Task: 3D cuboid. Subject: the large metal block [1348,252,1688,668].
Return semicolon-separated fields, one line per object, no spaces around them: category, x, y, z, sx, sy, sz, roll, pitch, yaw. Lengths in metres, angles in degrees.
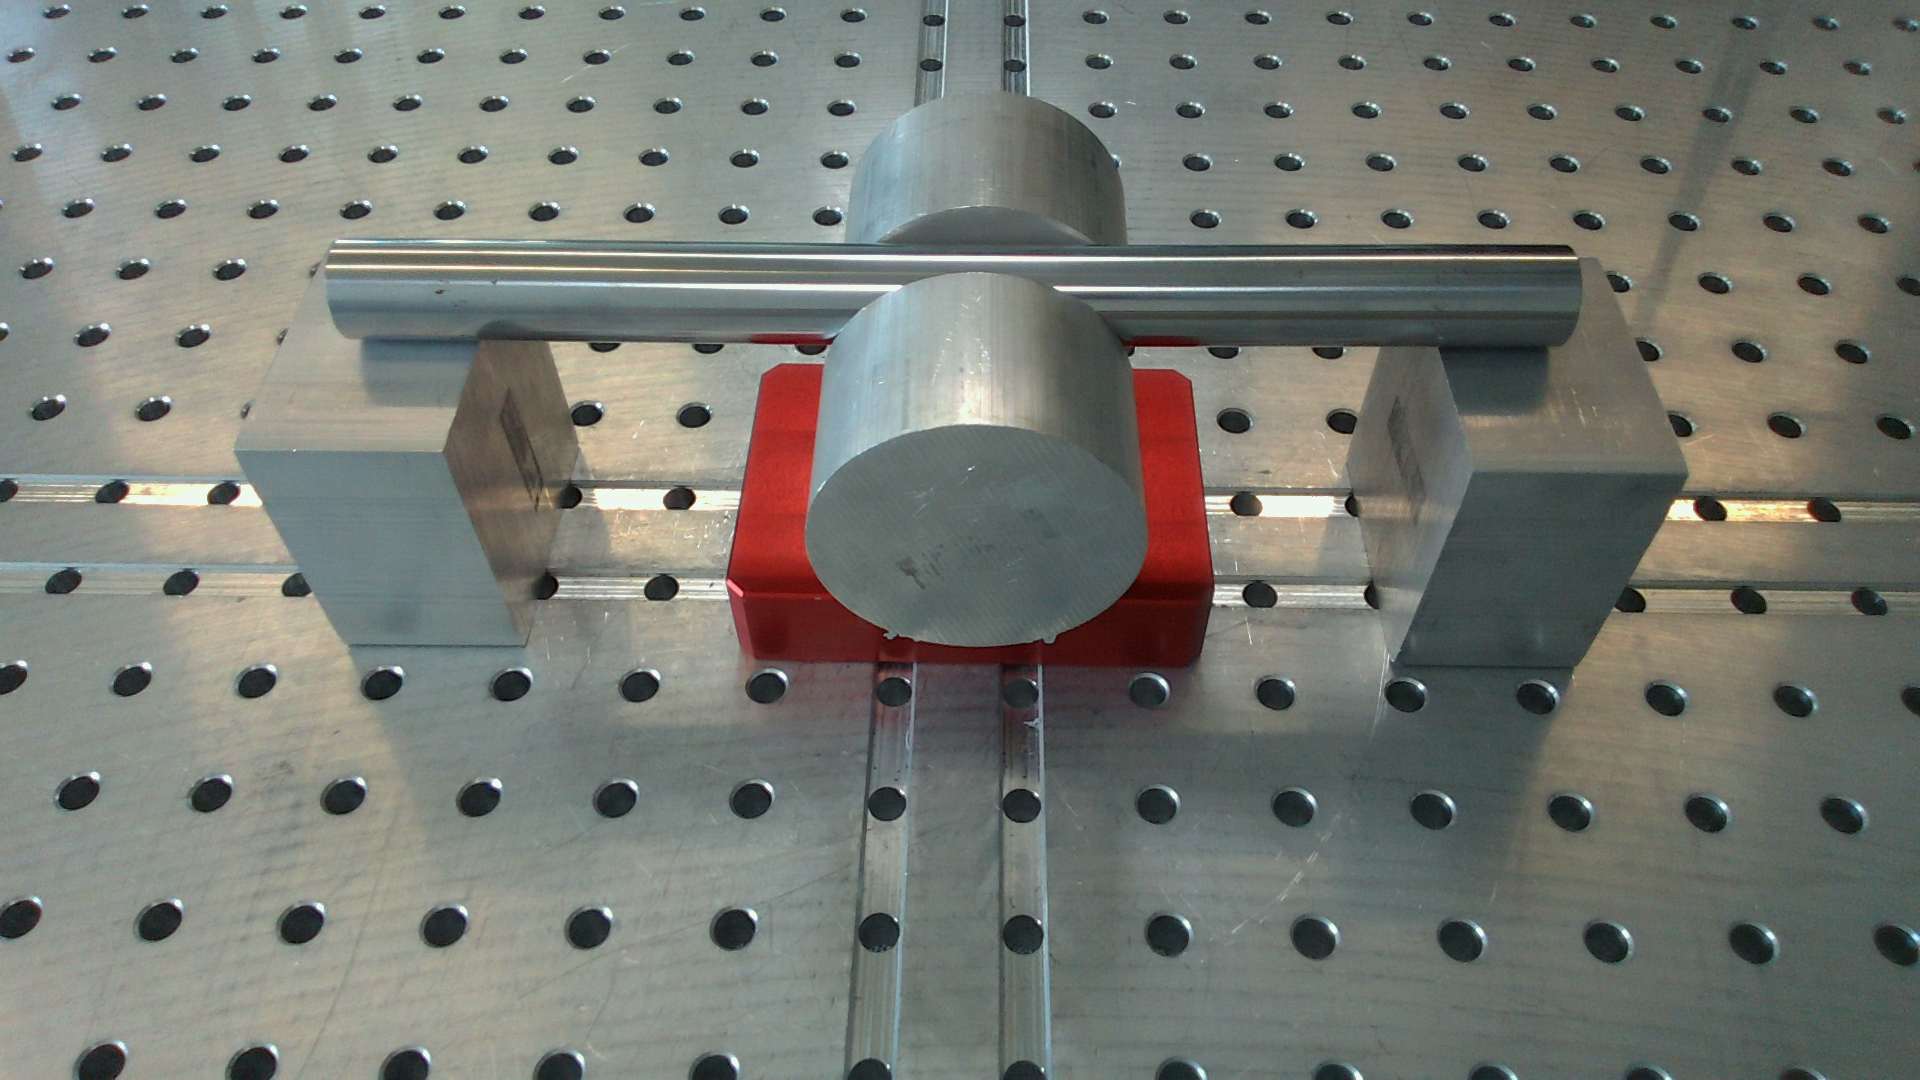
large metal block;0.145;-0.021;0.375;0.050;0.080;0.080;1;50;1

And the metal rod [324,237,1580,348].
metal rod;-0.002;-0.061;0.341;0.300;0.025;0.025;0;50;0

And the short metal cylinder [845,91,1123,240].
short metal cylinder;0.007;-0.075;0.383;0.080;0.080;0.050;1;50;1

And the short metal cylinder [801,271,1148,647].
short metal cylinder;0.004;-0.018;0.334;0.080;0.080;0.050;1;50;1

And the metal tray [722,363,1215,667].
metal tray;0.003;-0.009;0.399;0.130;0.030;0.090;1;50;1

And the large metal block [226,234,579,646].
large metal block;-0.147;-0.027;0.380;0.050;0.080;0.080;1;50;1
